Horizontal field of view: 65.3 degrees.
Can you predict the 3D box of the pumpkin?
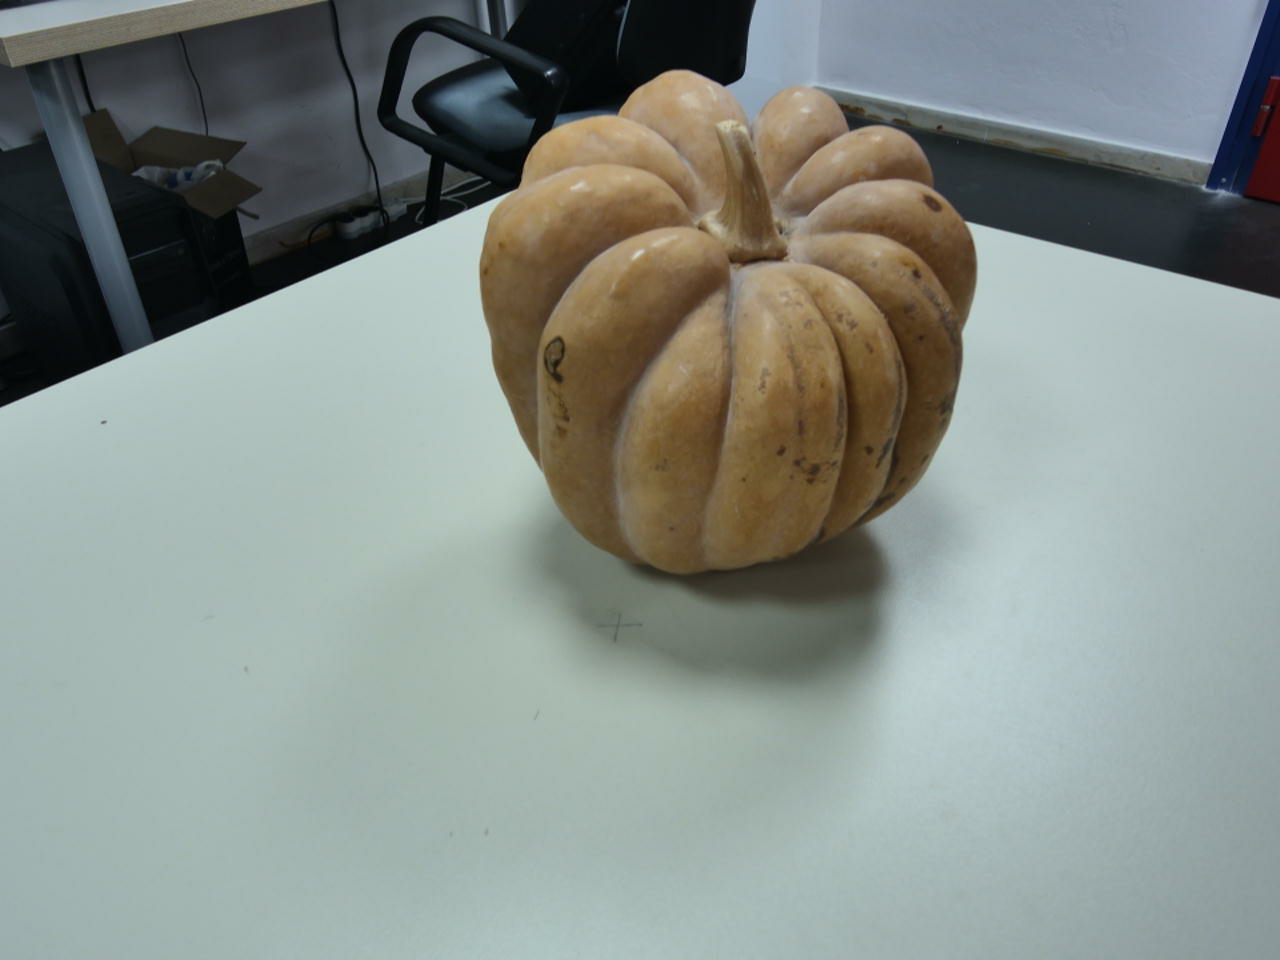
[{"bbox_3d":[0.033,-0.059,0.403,0.199,0.177,0.198,0,36,0],"label":"pumpkin"}]
